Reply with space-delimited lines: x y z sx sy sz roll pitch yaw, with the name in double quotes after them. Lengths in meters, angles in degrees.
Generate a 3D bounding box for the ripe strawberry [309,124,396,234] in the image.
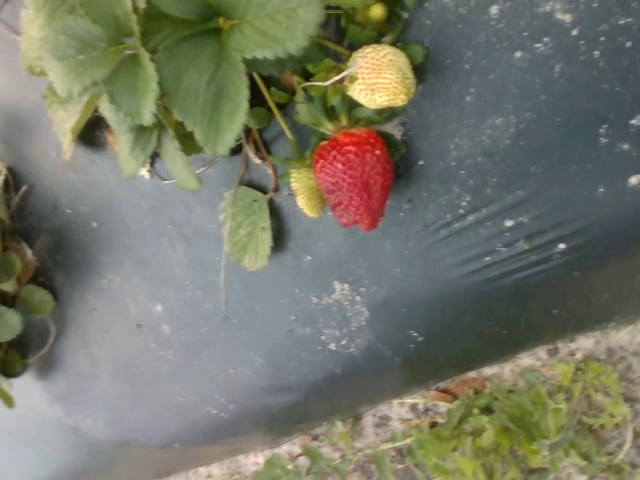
0.020 -0.027 0.309 0.045 0.059 0.046 7 -24 -43 "ripe strawberry"
